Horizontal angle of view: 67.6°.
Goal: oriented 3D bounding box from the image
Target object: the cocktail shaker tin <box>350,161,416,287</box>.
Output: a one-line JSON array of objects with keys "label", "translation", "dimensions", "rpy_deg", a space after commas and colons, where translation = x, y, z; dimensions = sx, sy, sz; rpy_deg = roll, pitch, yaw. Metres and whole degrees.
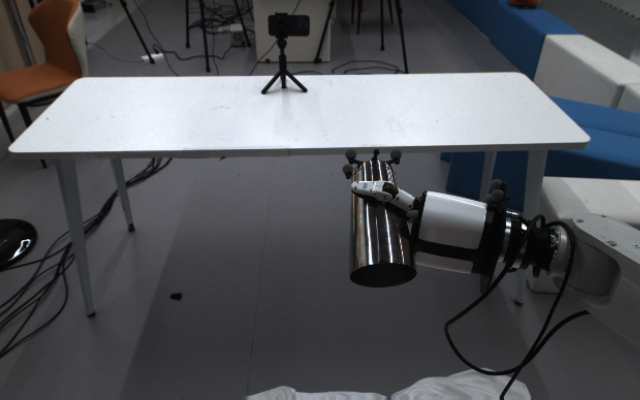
[{"label": "cocktail shaker tin", "translation": [0.083, 0.029, 0.697], "dimensions": [0.093, 0.093, 0.170], "rpy_deg": [0, 59, -3]}]
